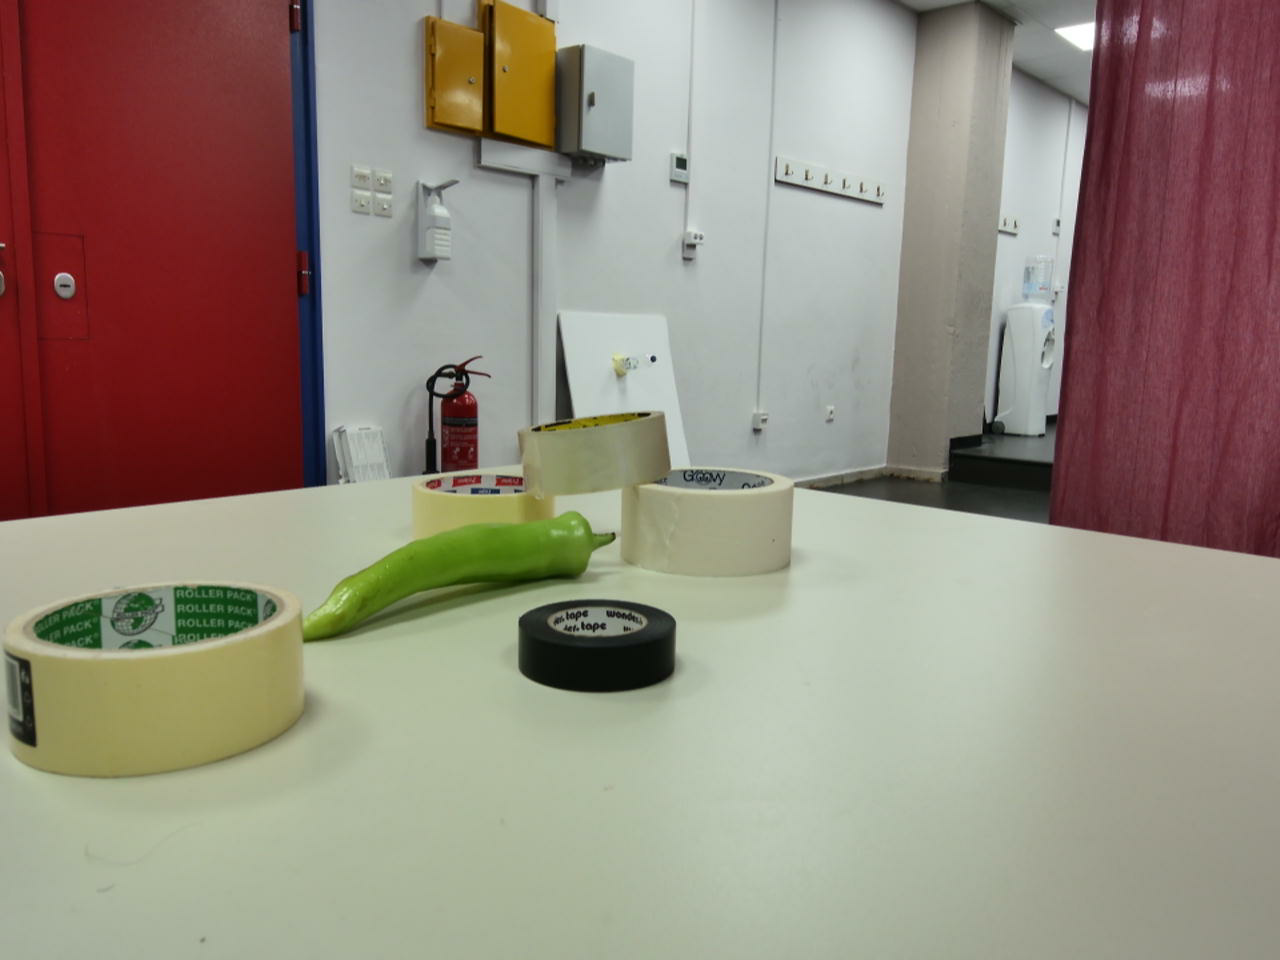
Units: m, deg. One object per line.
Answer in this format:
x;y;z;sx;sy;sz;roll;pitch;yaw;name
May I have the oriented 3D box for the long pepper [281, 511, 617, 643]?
-0.094;0.043;0.510;0.047;0.038;0.197;6;9;43;long pepper
